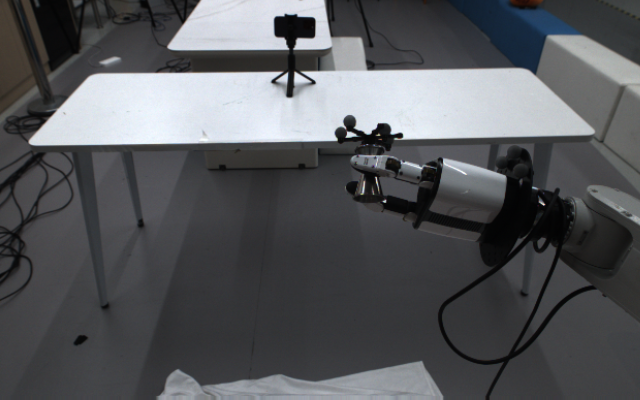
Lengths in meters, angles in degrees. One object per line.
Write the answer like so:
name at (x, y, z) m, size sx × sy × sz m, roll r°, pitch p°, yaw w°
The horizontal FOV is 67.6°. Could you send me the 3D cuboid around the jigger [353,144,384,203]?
jigger at (0.064, -0.035, 0.635) m, size 0.043 × 0.043 × 0.071 m, roll 3°, pitch 76°, yaw 1°
